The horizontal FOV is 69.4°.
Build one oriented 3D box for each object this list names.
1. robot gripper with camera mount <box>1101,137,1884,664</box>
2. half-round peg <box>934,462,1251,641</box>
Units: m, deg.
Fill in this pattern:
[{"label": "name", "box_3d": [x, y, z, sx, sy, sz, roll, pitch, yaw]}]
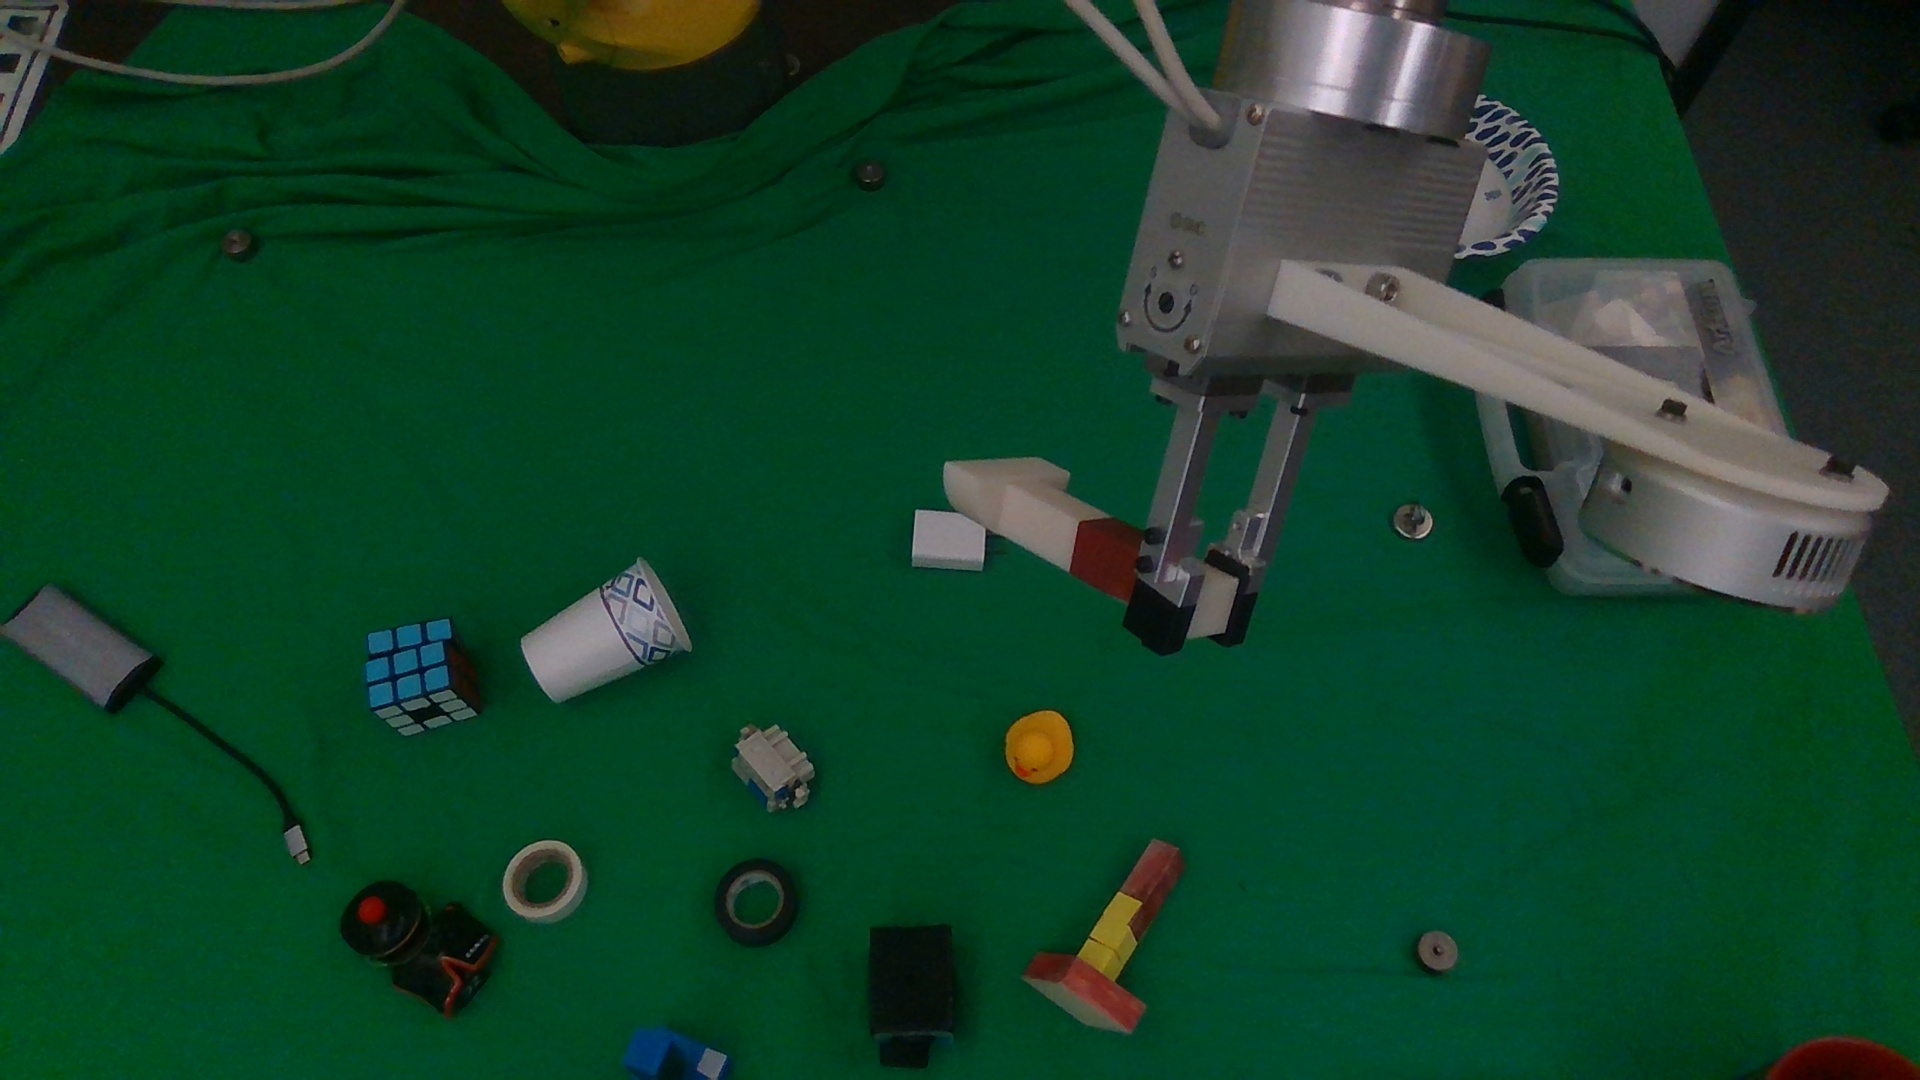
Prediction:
[{"label": "robot gripper with camera mount", "box_3d": [0.140, -0.011, 0.387, 0.118, 0.158, 0.194, -6, 24, -40]}, {"label": "half-round peg", "box_3d": [0.048, 0.004, 0.494, 0.054, 0.031, 0.122, -11, 25, -40]}]
